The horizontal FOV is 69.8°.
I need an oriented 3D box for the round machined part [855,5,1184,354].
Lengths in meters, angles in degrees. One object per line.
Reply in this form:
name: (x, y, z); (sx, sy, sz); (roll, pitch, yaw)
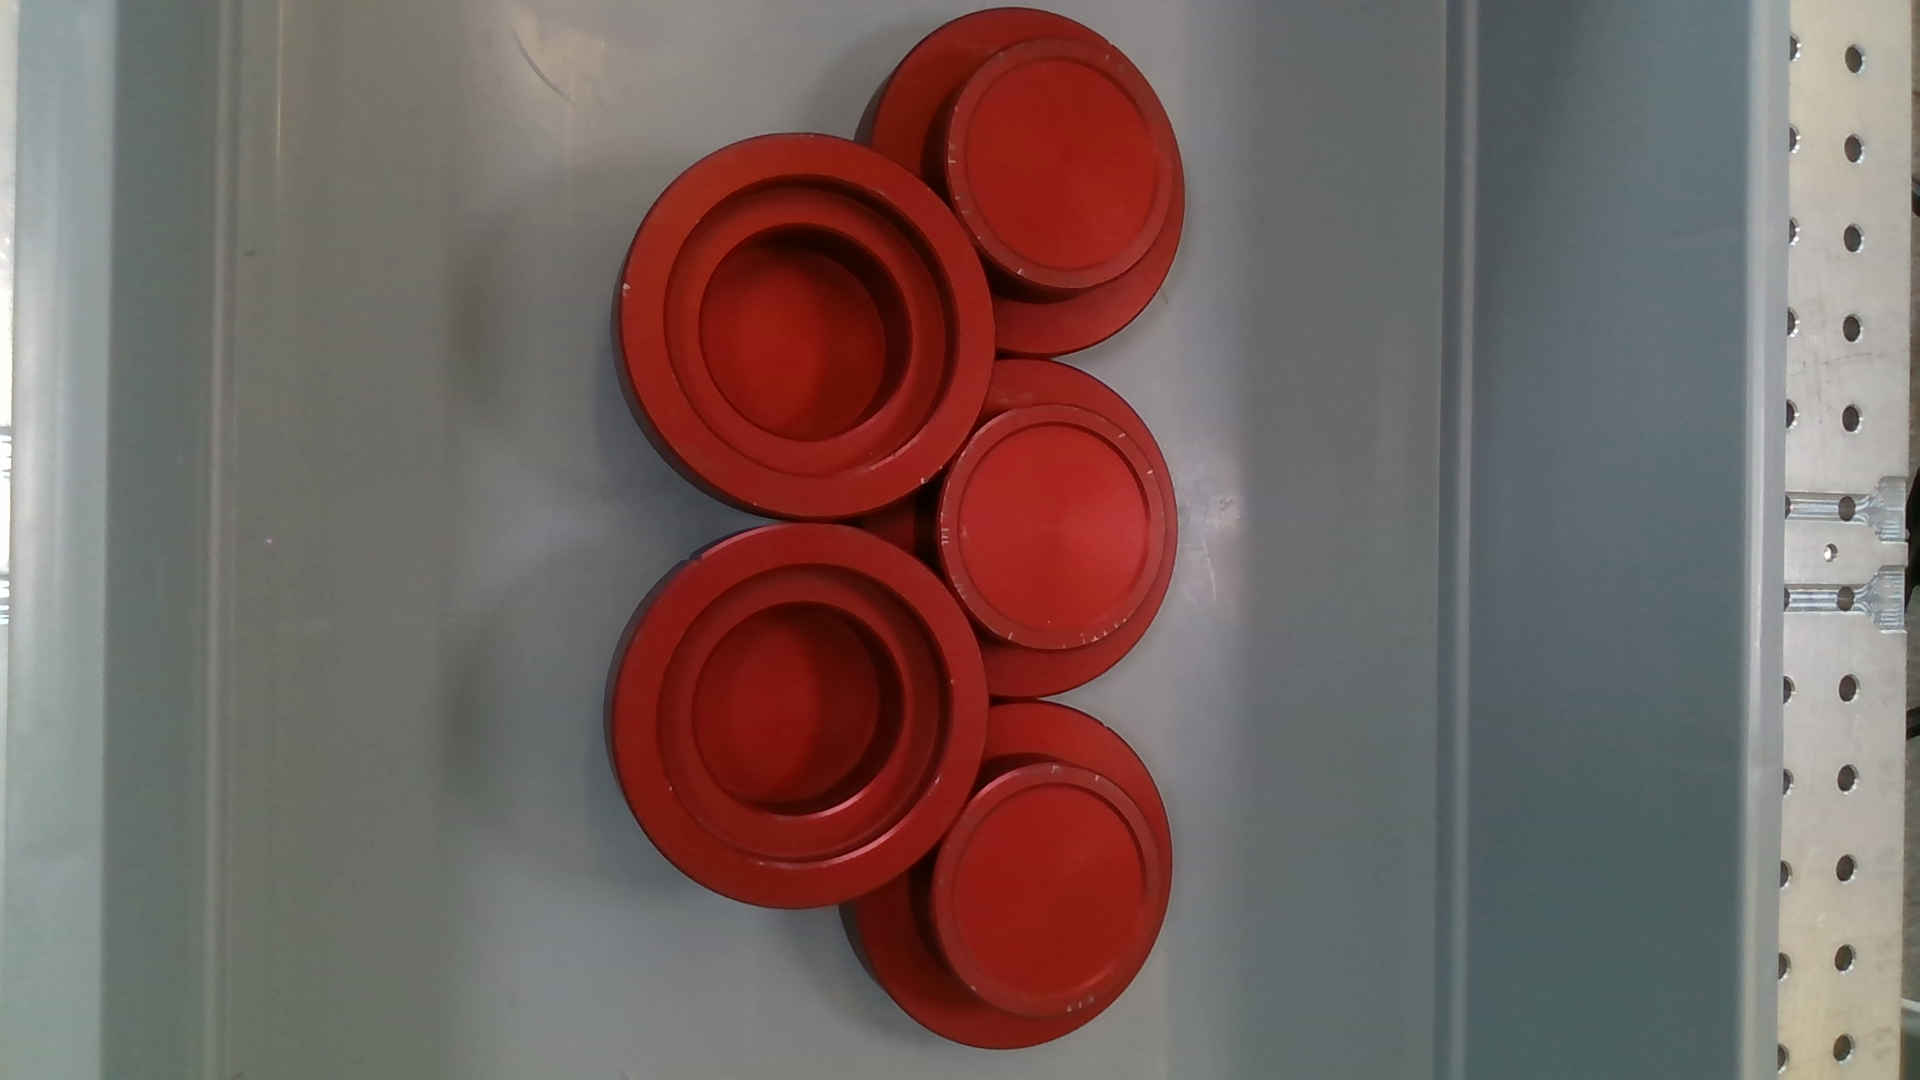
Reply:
round machined part: (0.021, -0.102, 0.390); (0.098, 0.042, 0.098); (0, 91, -21)

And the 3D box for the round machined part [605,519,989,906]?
round machined part: (-0.045, 0.044, 0.367); (0.098, 0.042, 0.098); (0, 90, -20)

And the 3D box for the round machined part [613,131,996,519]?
round machined part: (-0.043, -0.054, 0.368); (0.098, 0.042, 0.098); (0, 90, -20)

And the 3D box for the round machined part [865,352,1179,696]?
round machined part: (0.020, -0.005, 0.390); (0.098, 0.042, 0.098); (0, 89, -21)

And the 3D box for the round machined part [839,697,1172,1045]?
round machined part: (0.017, 0.094, 0.389); (0.098, 0.042, 0.098); (0, 89, -21)
